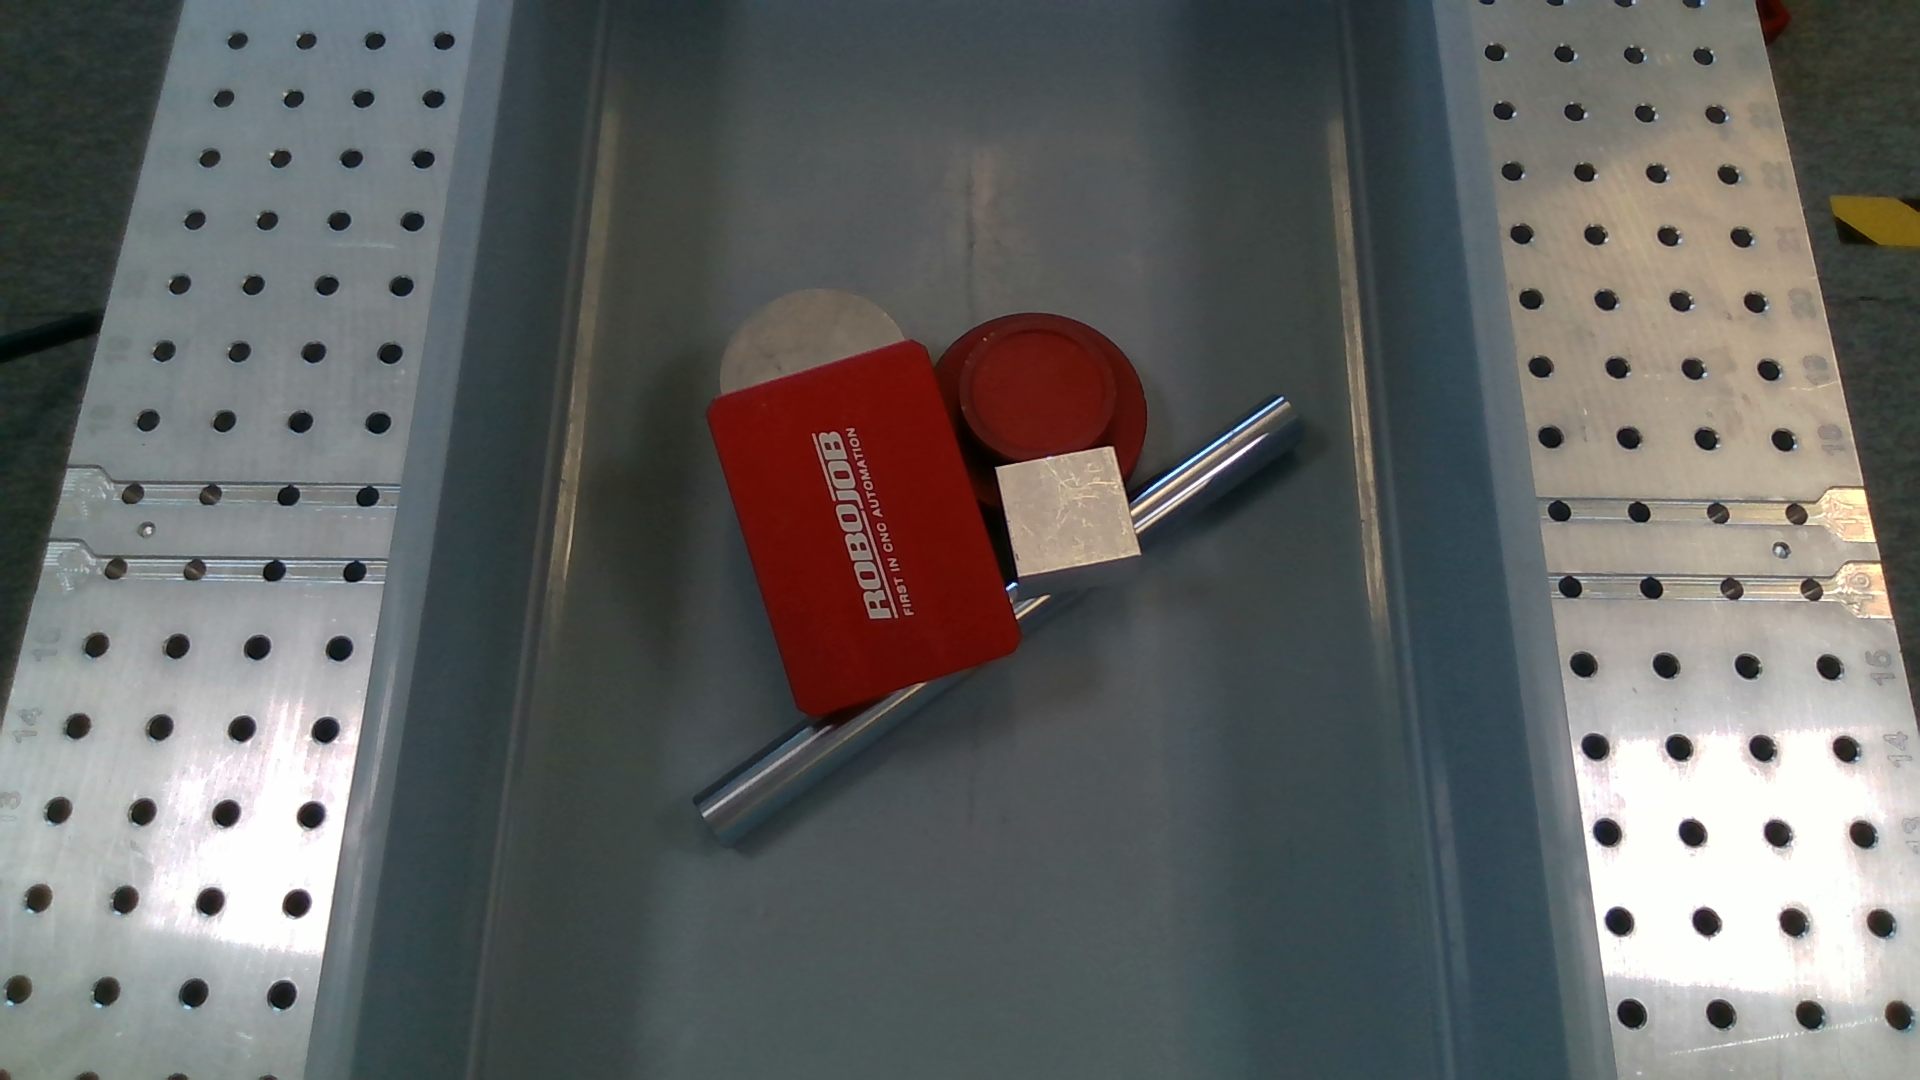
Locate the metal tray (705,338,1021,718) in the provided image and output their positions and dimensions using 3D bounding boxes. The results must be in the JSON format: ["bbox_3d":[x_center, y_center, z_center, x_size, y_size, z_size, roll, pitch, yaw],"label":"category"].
[{"bbox_3d":[-0.039,-0.004,0.545,0.090,0.030,0.130,-17,84,-6],"label":"metal tray"}]

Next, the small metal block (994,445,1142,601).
[{"bbox_3d":[0.044,-0.007,0.565,0.050,0.025,0.050,-11,65,-1],"label":"small metal block"}]

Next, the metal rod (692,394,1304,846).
[{"bbox_3d":[0.022,0.029,0.577,0.300,0.025,0.025,-34,74,-11],"label":"metal rod"}]

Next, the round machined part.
[{"bbox_3d":[0.033,-0.057,0.597,0.098,0.042,0.098,0,69,0],"label":"round machined part"}]

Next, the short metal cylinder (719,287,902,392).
[{"bbox_3d":[-0.060,-0.061,0.595,0.080,0.050,0.080,0,70,0],"label":"short metal cylinder"}]
